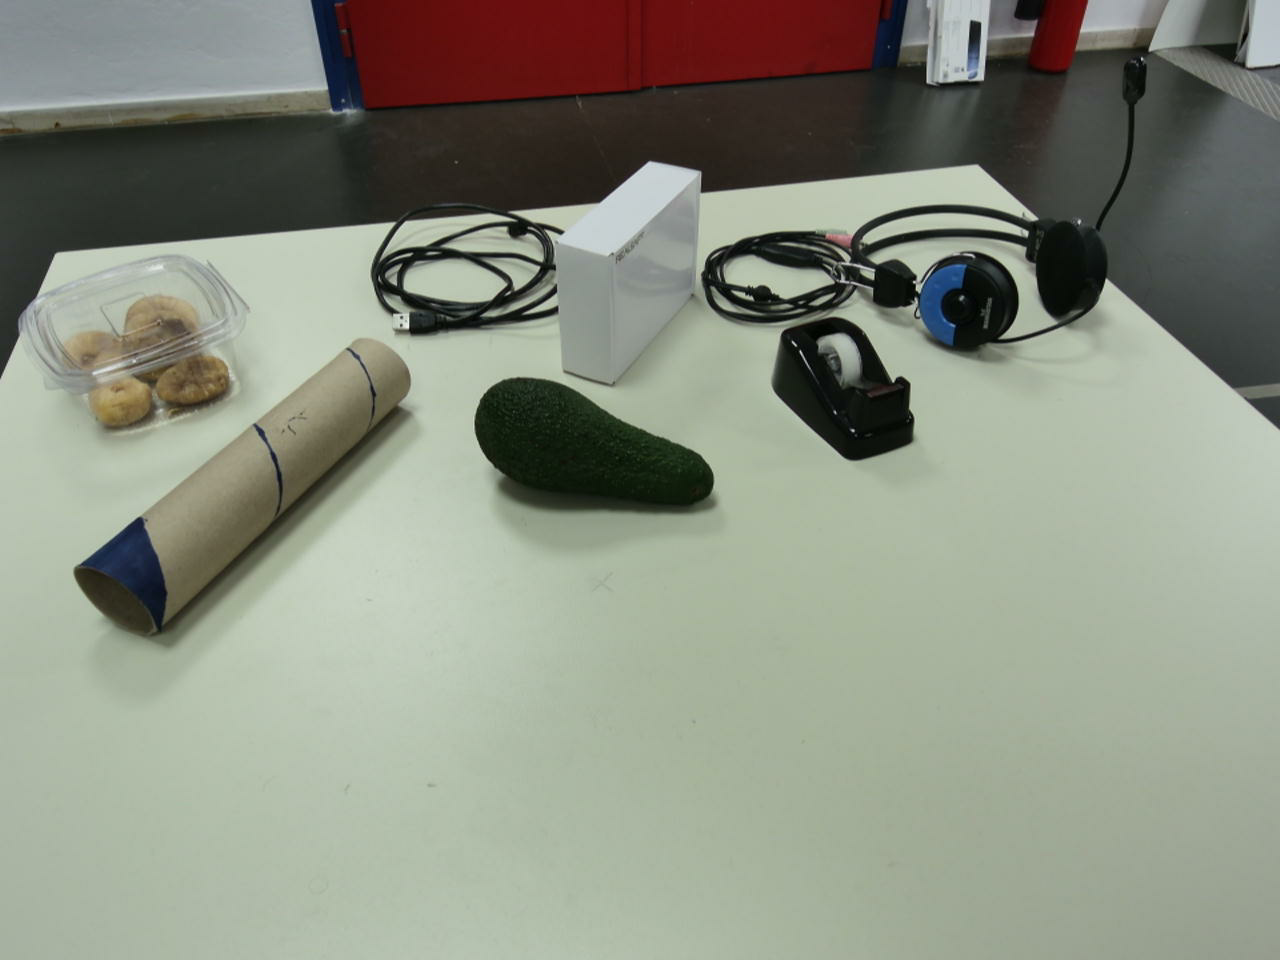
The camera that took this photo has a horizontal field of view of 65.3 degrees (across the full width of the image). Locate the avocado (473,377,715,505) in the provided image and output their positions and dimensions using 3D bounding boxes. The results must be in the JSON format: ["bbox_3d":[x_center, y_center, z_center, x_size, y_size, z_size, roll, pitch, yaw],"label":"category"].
[{"bbox_3d":[-0.026,-0.026,0.577,0.141,0.067,0.063,2,39,2],"label":"avocado"}]
